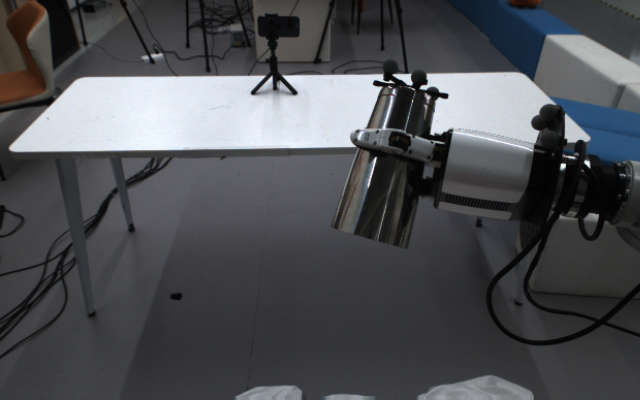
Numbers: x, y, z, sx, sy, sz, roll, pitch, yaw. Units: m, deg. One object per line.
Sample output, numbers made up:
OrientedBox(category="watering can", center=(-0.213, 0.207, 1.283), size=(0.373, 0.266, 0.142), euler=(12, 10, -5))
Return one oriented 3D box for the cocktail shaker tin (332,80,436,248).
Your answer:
OrientedBox(category="cocktail shaker tin", center=(0.081, -0.038, 0.556), size=(0.093, 0.170, 0.093), euler=(16, -2, 1))
